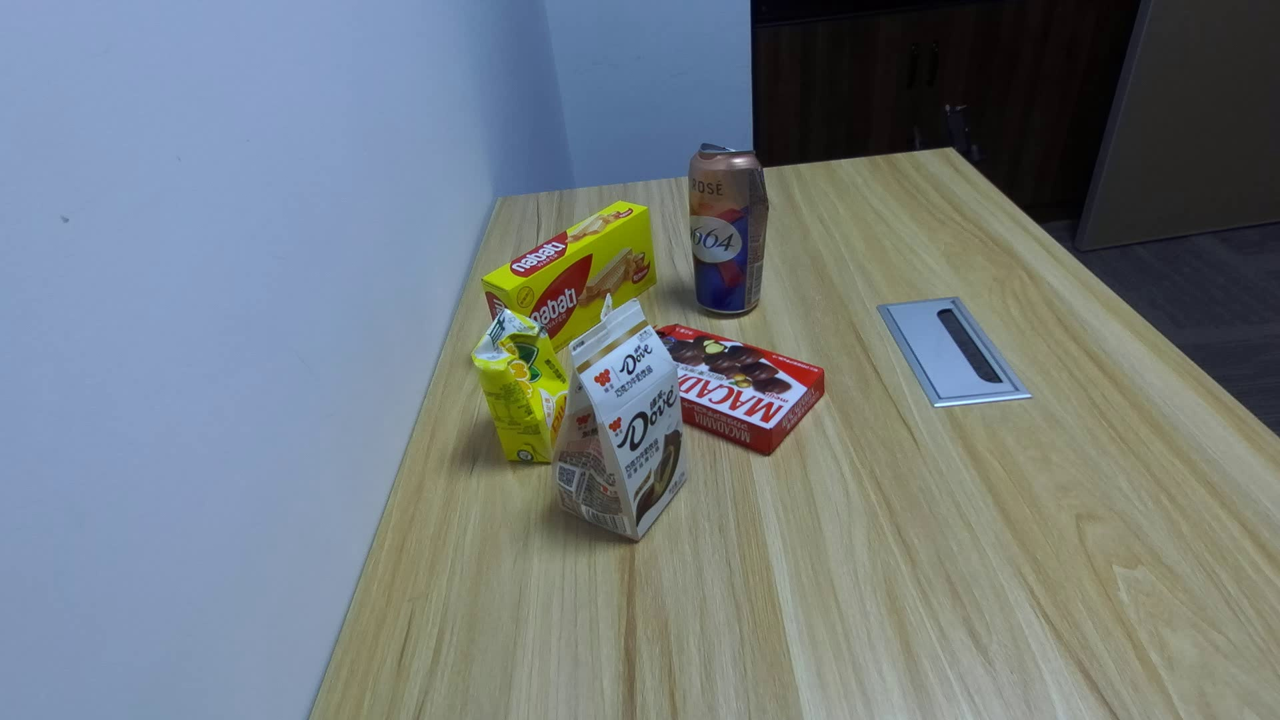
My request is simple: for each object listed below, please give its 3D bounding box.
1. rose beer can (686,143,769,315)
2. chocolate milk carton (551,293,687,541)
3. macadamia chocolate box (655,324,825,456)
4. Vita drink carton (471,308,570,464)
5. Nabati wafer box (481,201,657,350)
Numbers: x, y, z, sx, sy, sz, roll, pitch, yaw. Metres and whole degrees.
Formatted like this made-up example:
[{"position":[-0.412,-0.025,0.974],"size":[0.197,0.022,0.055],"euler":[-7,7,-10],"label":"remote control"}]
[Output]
[{"position":[0.085,-0.127,0.698],"size":[0.069,0.168,0.069],"euler":[-5,30,-1],"label":"rose beer can"},{"position":[-0.021,0.040,0.492],"size":[0.072,0.155,0.084],"euler":[16,43,30],"label":"chocolate milk carton"},{"position":[0.059,0.014,0.624],"size":[0.186,0.027,0.103],"euler":[20,42,33],"label":"macadamia chocolate box"},{"position":[-0.090,0.022,0.572],"size":[0.046,0.110,0.071],"euler":[1,35,16],"label":"Vita drink carton"},{"position":[-0.062,-0.081,0.724],"size":[0.042,0.093,0.203],"euler":[22,45,36],"label":"Nabati wafer box"}]
